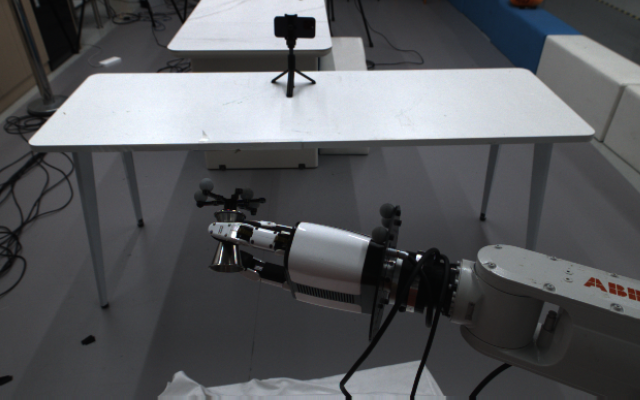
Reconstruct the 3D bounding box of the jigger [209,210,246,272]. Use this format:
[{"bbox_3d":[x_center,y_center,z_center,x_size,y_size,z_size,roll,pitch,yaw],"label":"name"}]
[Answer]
[{"bbox_3d":[-0.111,0.050,0.588,0.043,0.043,0.071,1,70,-2],"label":"jigger"}]
